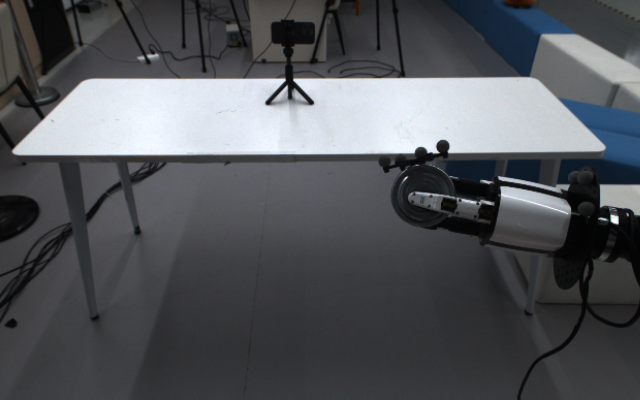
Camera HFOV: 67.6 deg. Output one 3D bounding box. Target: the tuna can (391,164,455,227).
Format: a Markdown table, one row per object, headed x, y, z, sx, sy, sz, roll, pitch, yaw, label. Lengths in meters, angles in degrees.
| x | y | z | sx | sy | sz | roll | pitch | yaw | label |
| --- | --- | --- | --- | --- | --- | --- | --- | --- | --- |
| 0.141 | -0.008 | 0.654 | 0.085 | 0.085 | 0.034 | 12 | 3 | 14 | tuna can |
